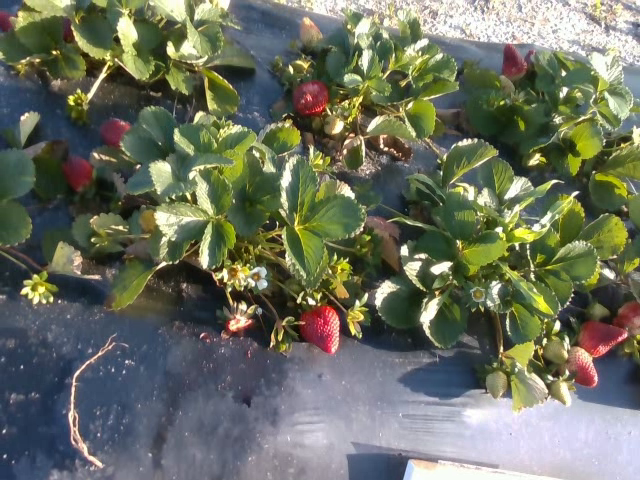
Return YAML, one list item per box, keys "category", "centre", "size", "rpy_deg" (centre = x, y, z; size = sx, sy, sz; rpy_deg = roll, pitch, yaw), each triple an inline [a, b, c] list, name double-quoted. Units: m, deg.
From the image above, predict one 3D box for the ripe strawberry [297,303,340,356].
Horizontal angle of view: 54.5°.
- category: "ripe strawberry"
  centre: [0.004, 0.096, 0.623]
  size: [0.052, 0.041, 0.052]
  rpy_deg: [-17, 44, -7]
